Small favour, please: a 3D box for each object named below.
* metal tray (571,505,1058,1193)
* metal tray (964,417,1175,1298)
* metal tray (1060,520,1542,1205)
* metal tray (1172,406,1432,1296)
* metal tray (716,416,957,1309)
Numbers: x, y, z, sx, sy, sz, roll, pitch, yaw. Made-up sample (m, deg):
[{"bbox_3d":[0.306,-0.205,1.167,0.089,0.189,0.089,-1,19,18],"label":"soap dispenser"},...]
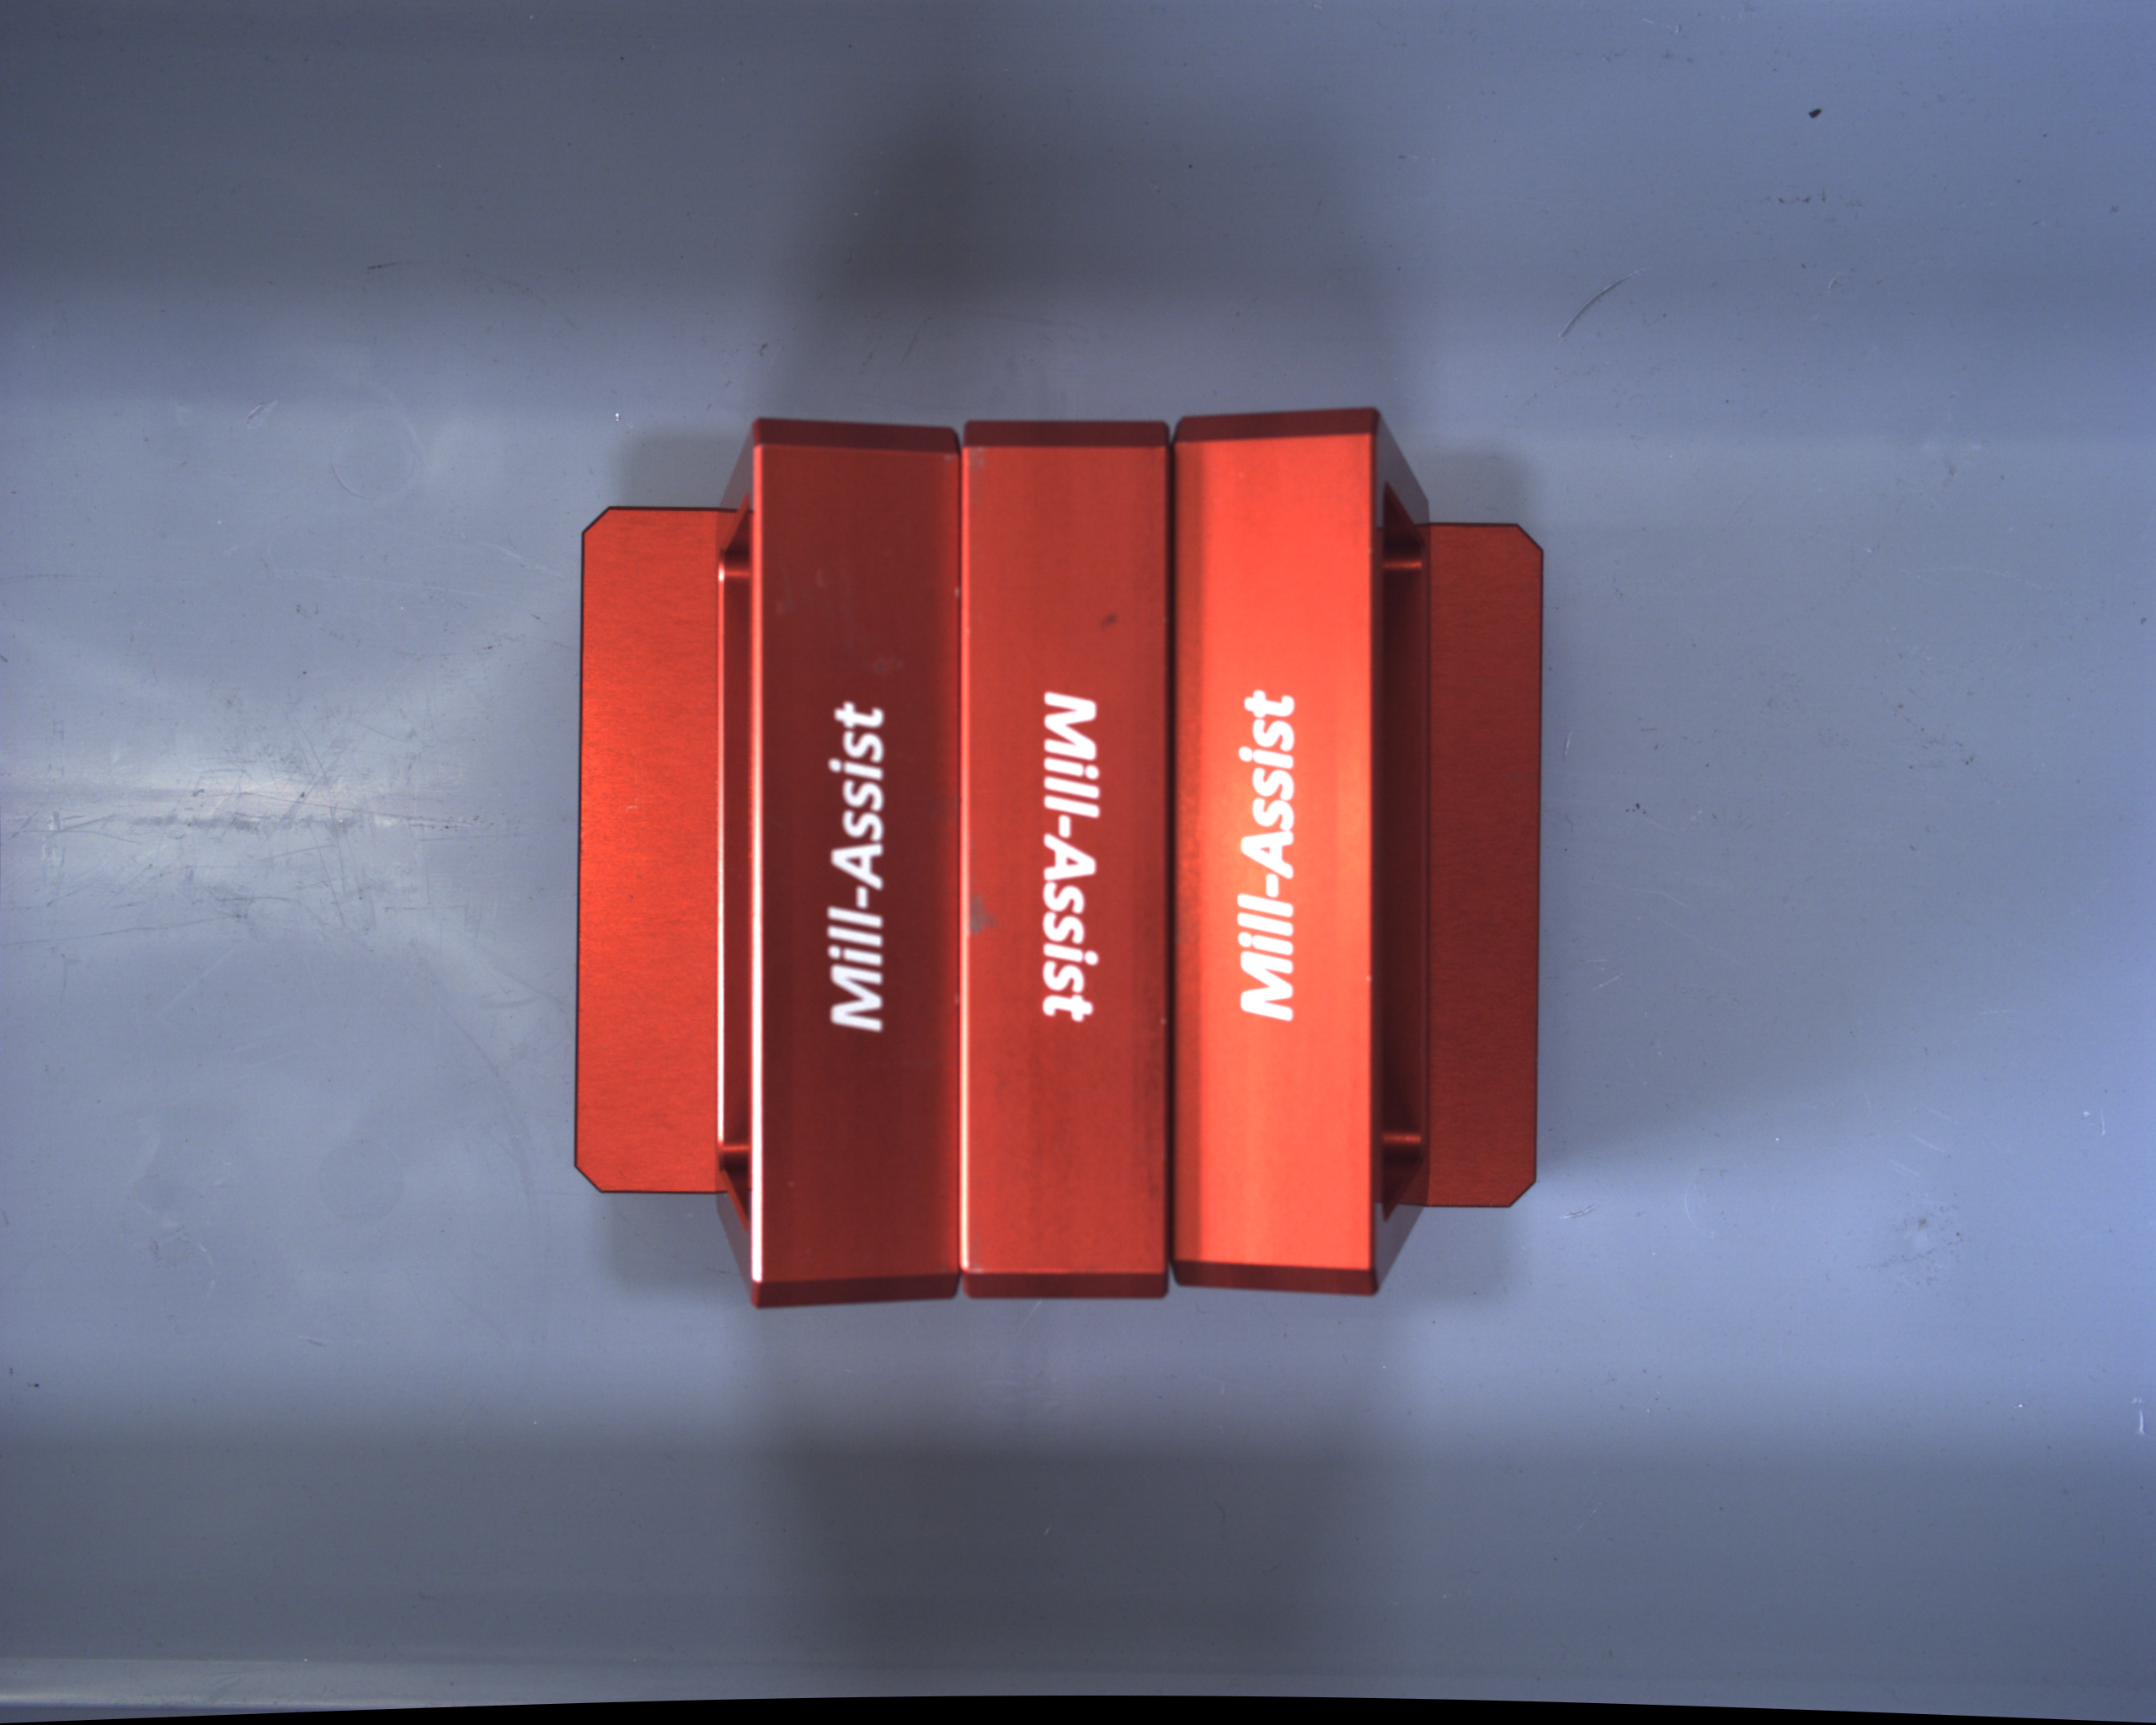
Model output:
[{"bbox_3d":[-0.049,-0.002,0.406,0.091,0.030,0.129,1,90,0],"label":"metal tray"},{"bbox_3d":[-0.001,0.000,0.346,0.030,0.090,0.129,0,88,0],"label":"metal tray"},{"bbox_3d":[0.042,0.000,0.408,0.091,0.030,0.129,1,90,0],"label":"metal tray"},{"bbox_3d":[0.039,-0.002,0.345,0.030,0.090,0.129,0,90,14],"label":"metal tray"},{"bbox_3d":[-0.042,0.000,0.344,0.030,0.090,0.129,0,90,-13],"label":"metal tray"}]
